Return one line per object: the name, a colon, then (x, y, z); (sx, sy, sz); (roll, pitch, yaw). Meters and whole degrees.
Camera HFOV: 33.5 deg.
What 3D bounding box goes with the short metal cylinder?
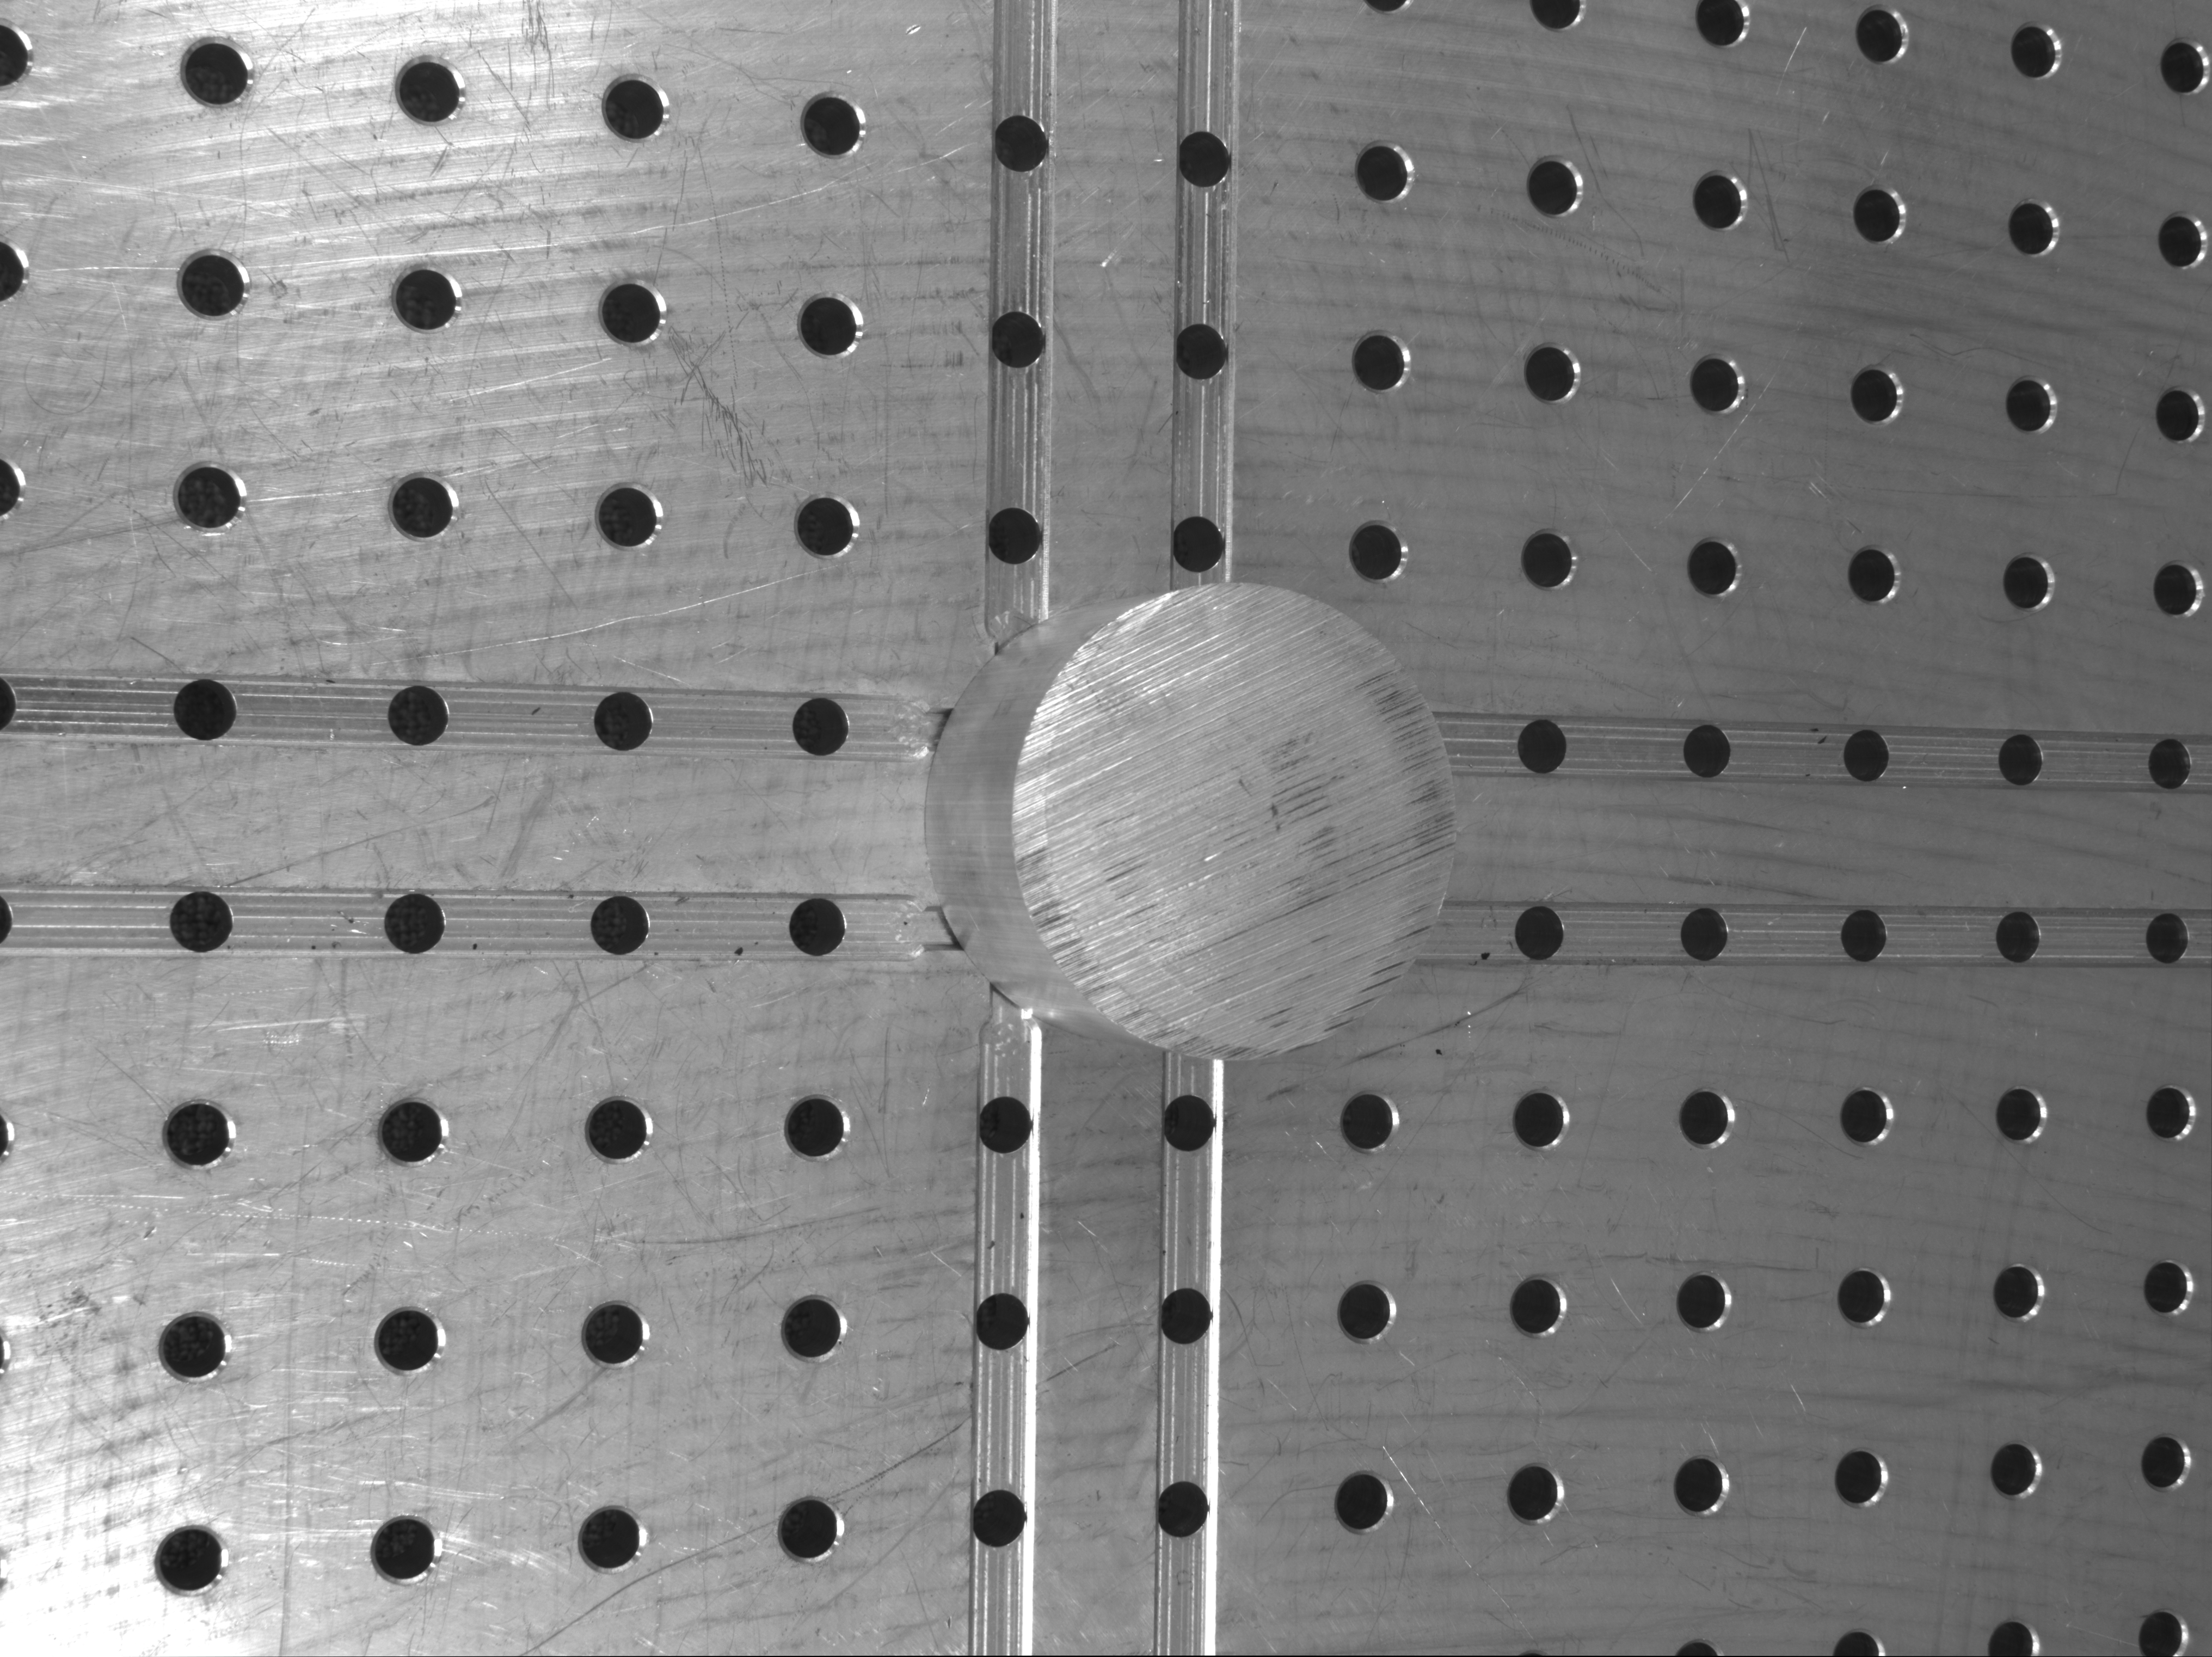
short metal cylinder: (0.013, -0.001, 0.637); (0.080, 0.050, 0.080); (0, 90, -20)
